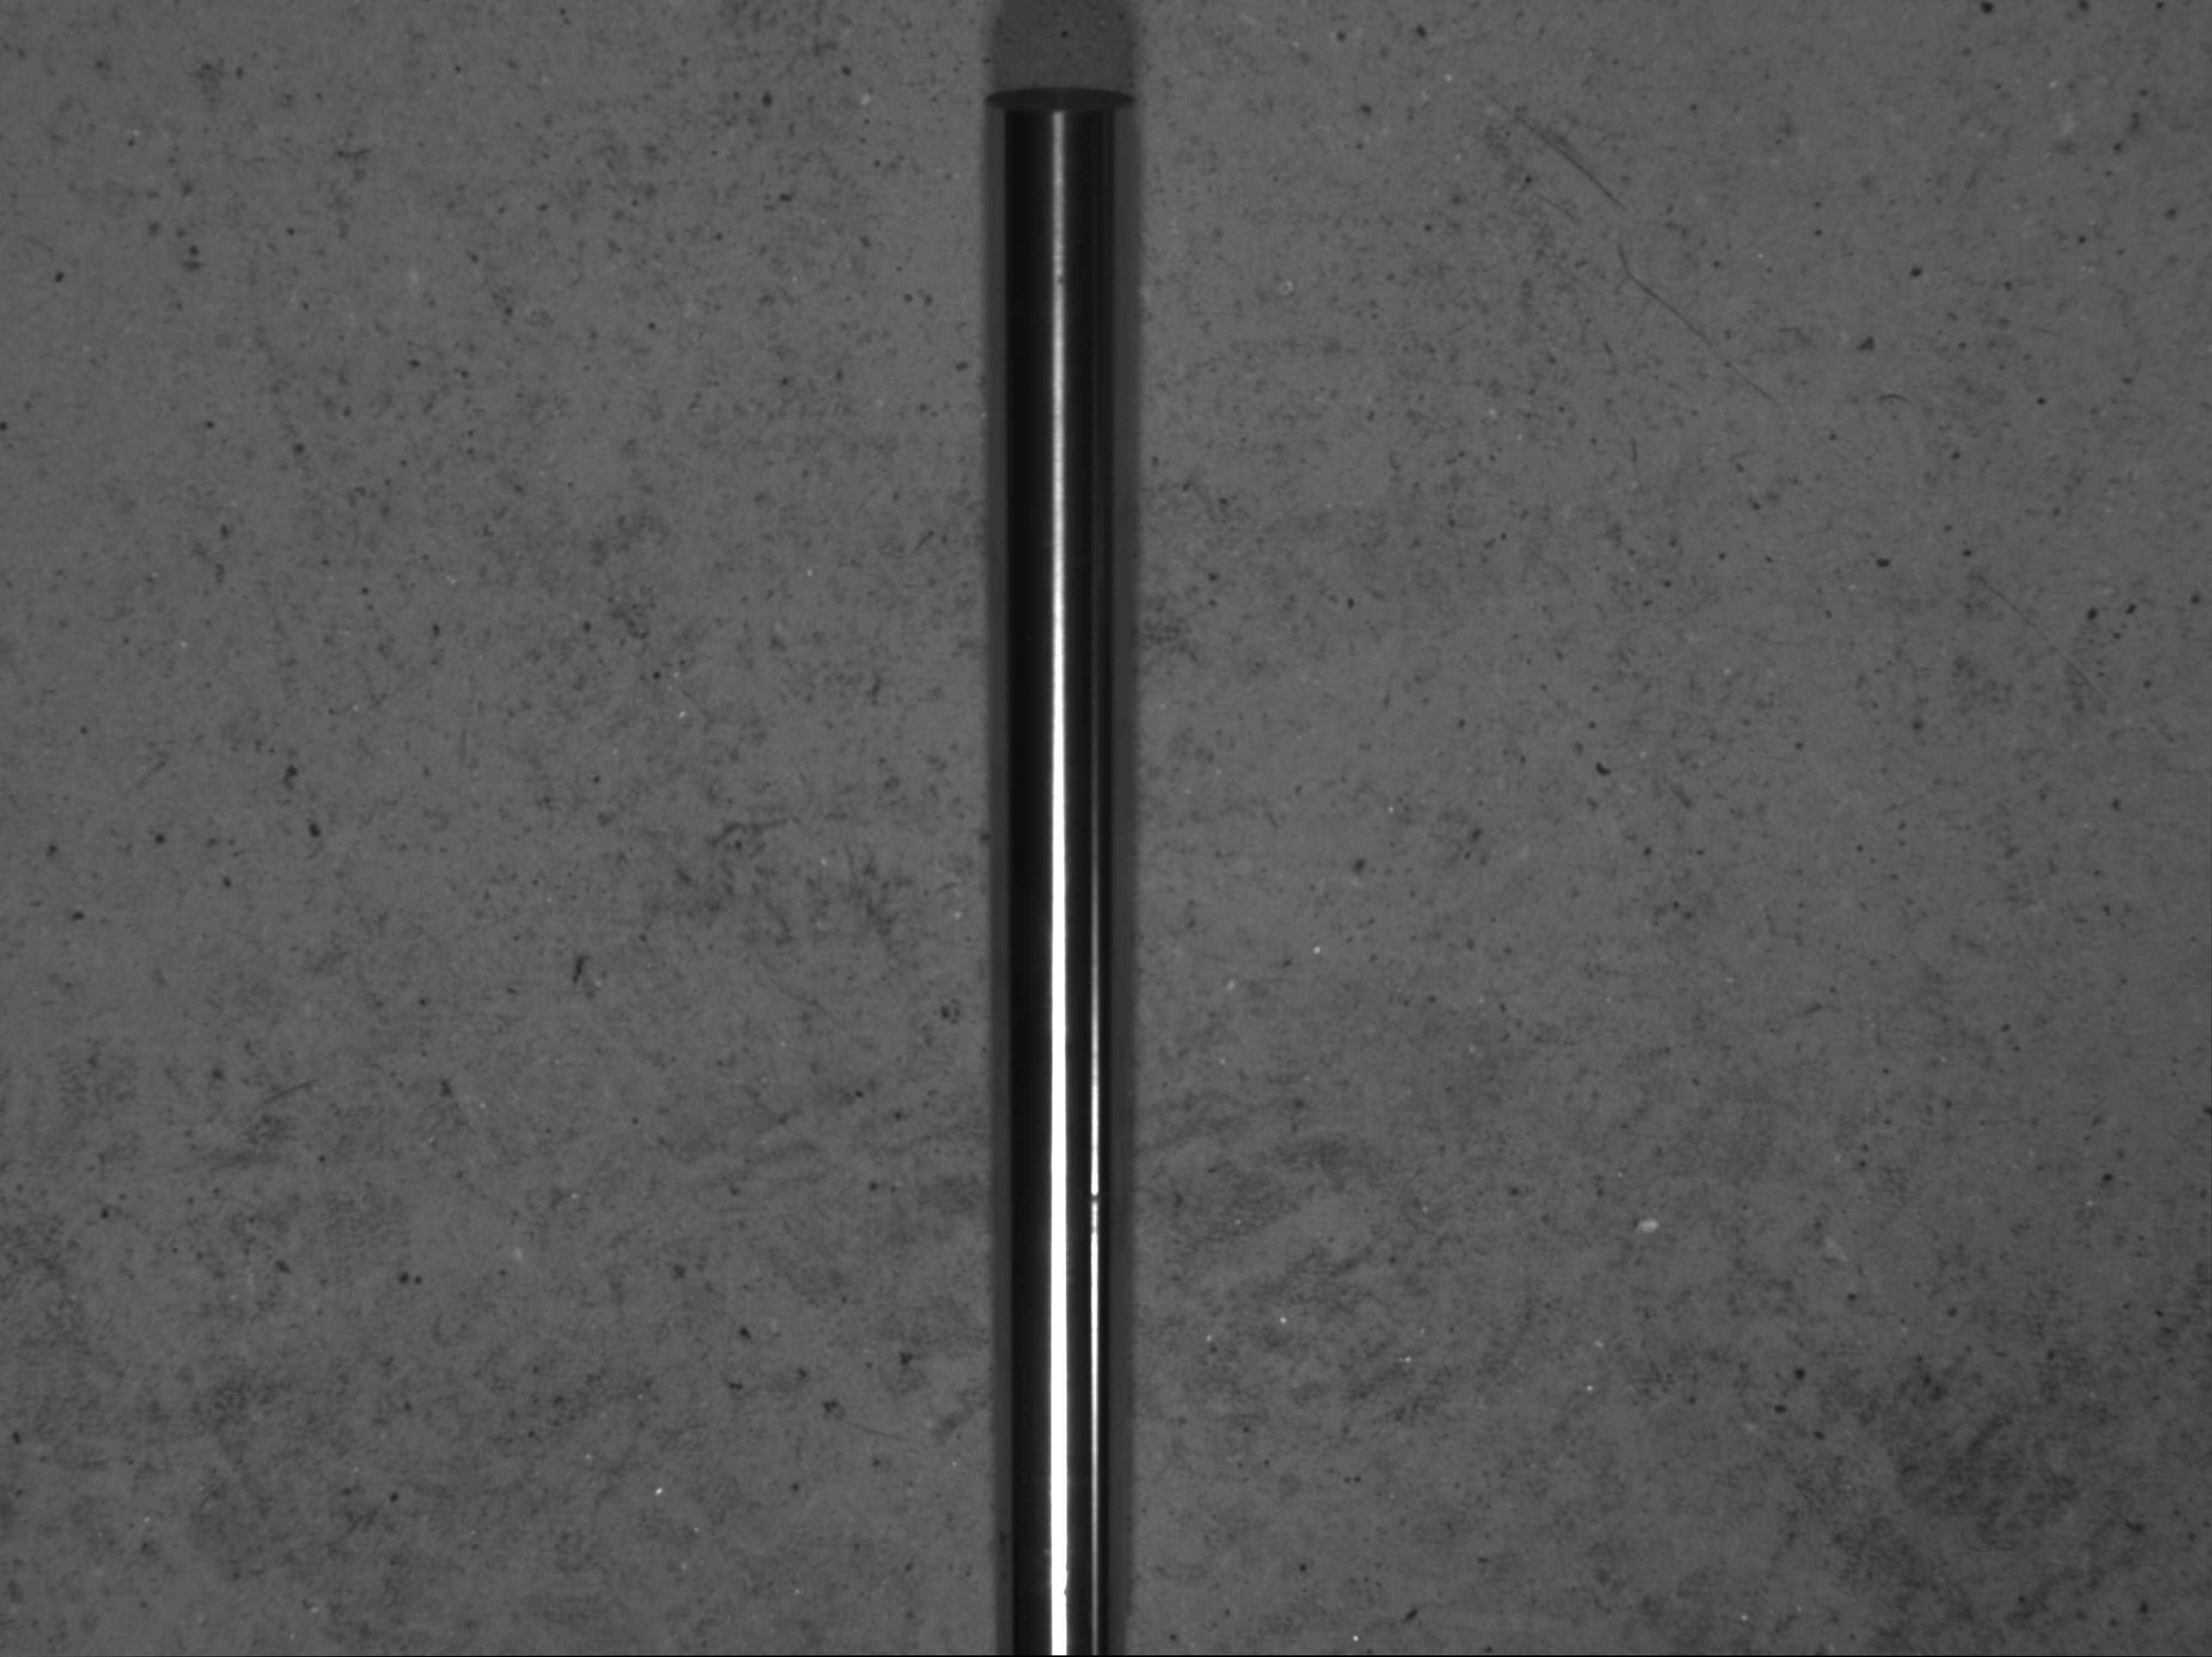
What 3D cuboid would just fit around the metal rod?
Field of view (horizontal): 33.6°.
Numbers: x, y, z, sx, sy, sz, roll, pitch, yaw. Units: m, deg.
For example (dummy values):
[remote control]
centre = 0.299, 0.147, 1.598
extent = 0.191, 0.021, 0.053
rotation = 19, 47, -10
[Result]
[metal rod]
centre = -0.011, 0.022, 0.651
extent = 0.025, 0.025, 0.300
rotation = 0, 110, -1
